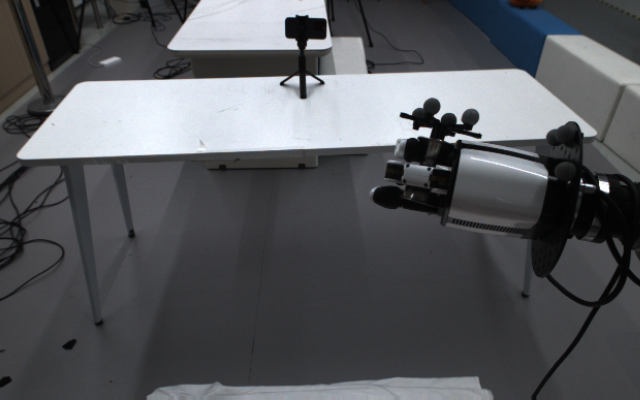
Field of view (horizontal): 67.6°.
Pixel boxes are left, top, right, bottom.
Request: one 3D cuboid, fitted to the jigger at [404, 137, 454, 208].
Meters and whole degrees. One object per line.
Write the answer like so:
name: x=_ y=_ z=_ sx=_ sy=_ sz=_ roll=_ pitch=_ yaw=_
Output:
jigger: x=0.116 y=-0.030 z=0.520 sx=0.043 sy=0.071 sz=0.043 roll=17 pitch=2 yaw=-1
